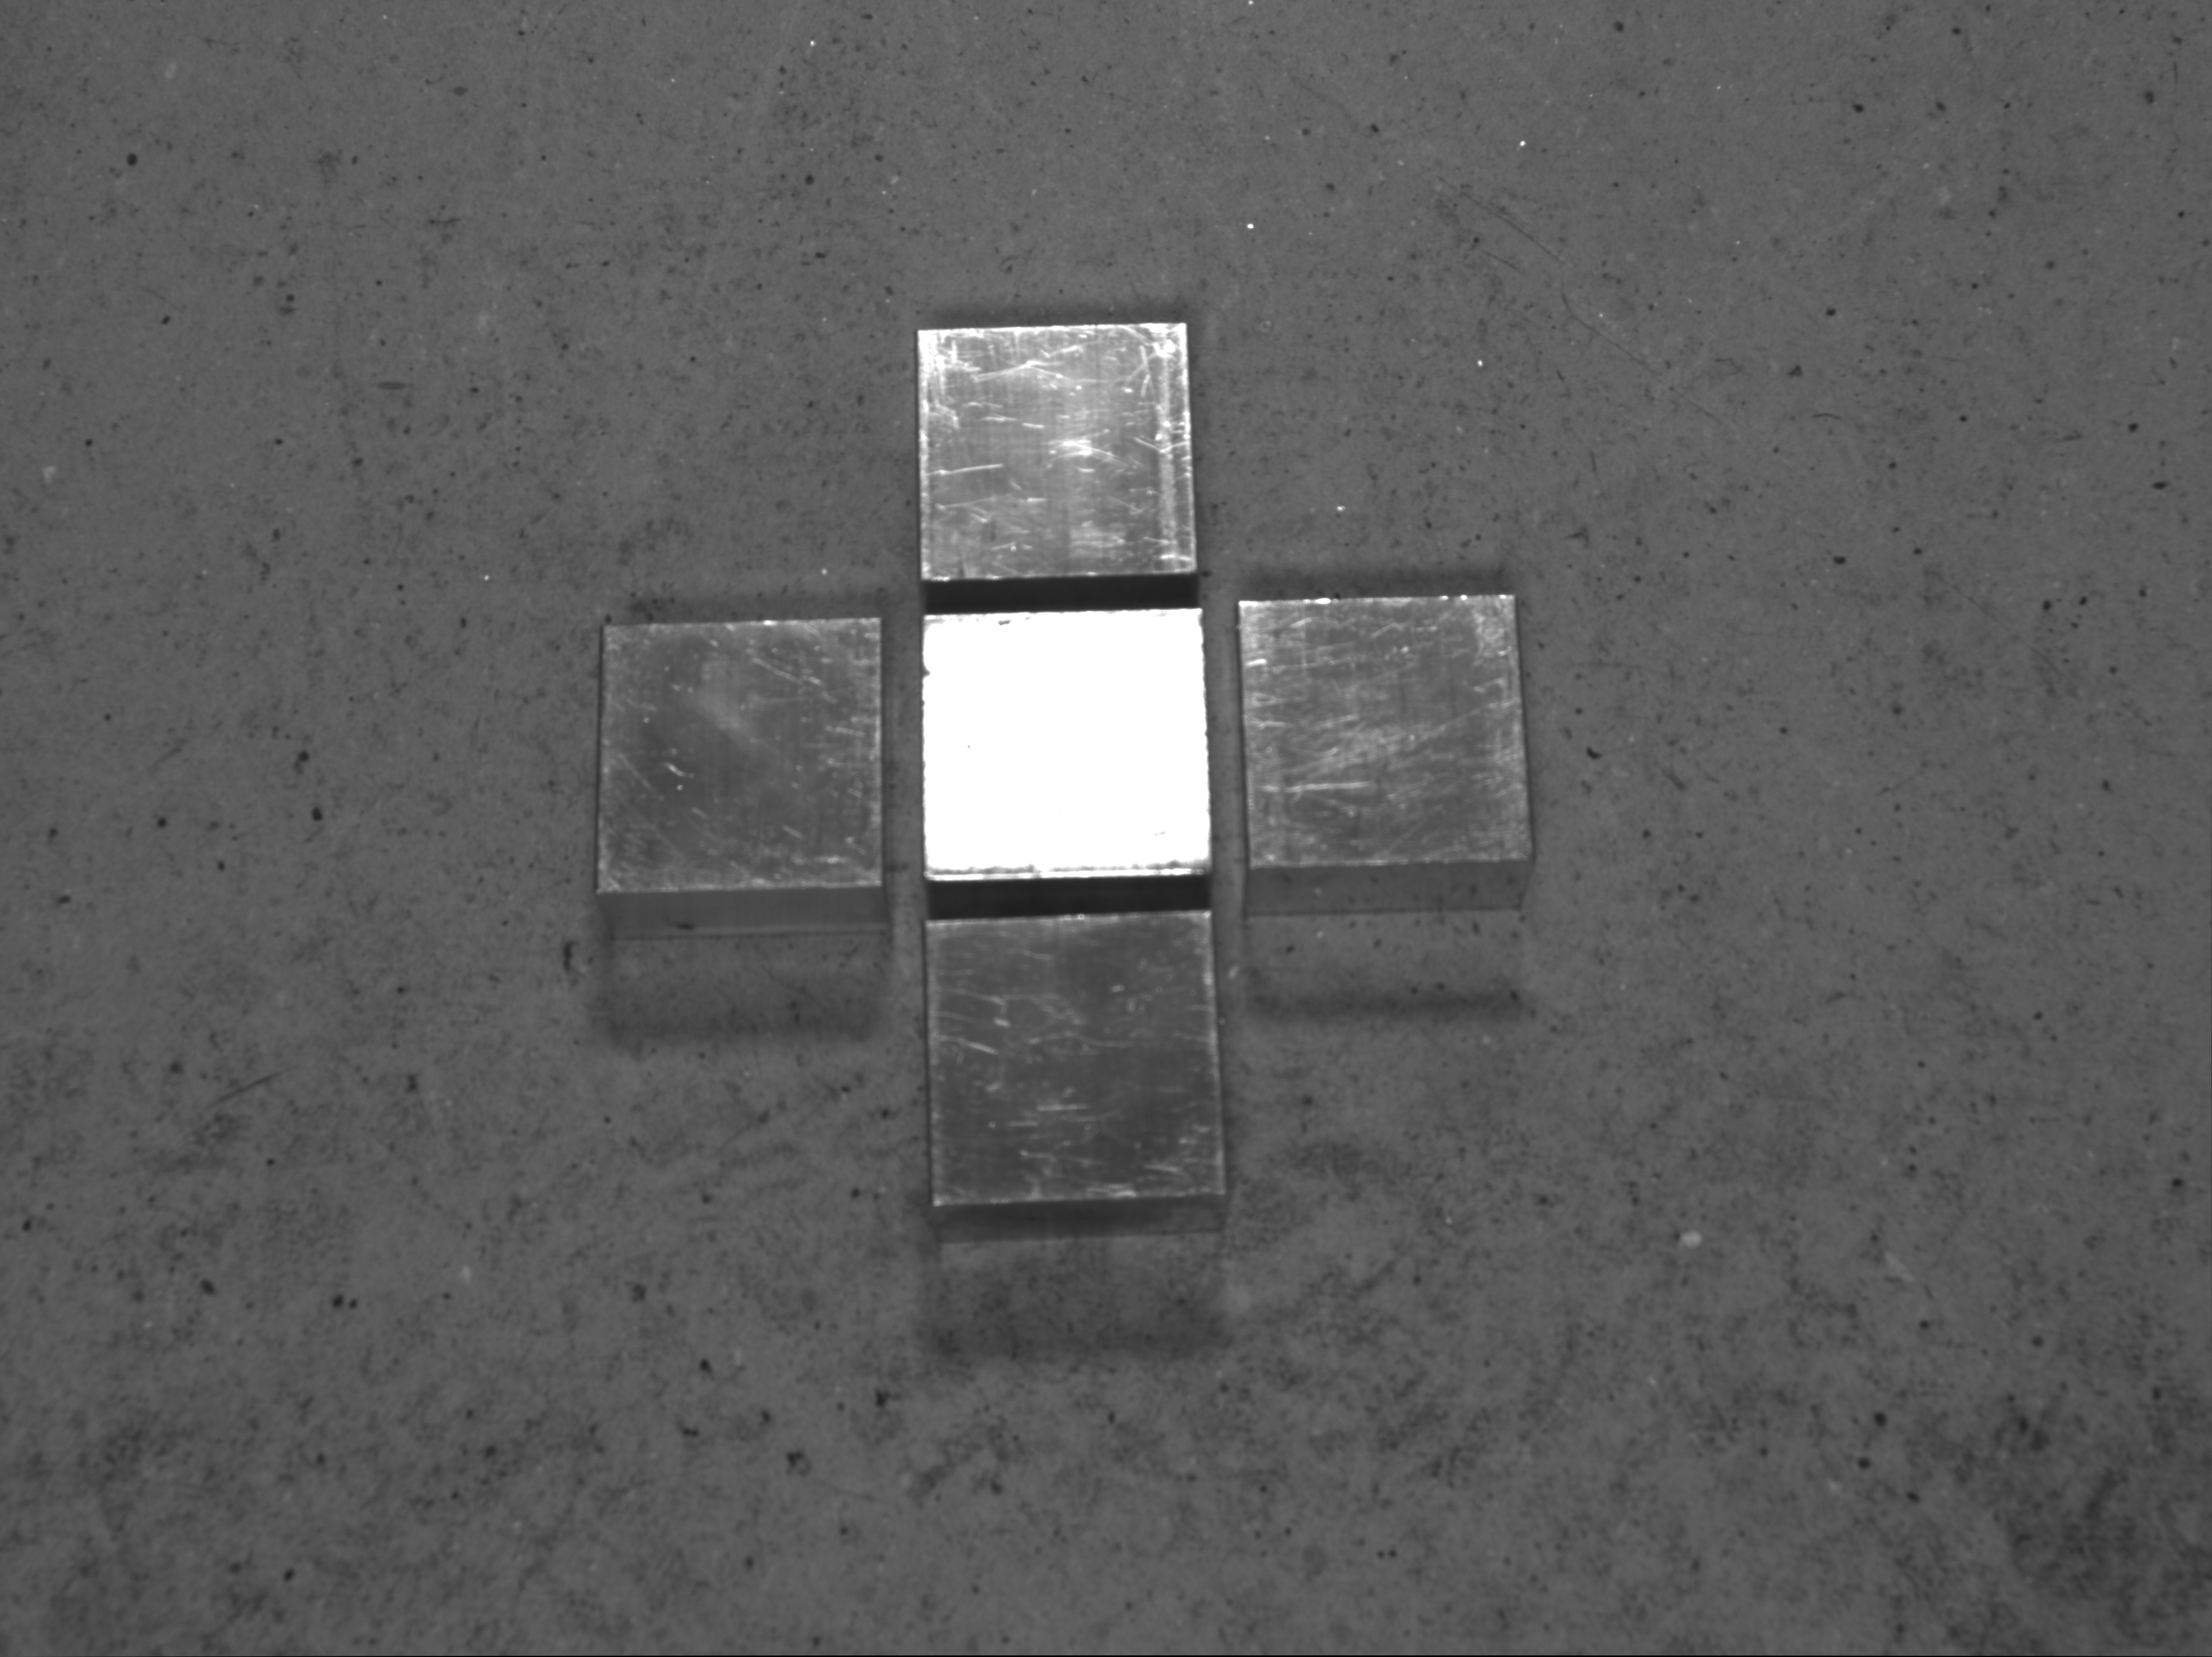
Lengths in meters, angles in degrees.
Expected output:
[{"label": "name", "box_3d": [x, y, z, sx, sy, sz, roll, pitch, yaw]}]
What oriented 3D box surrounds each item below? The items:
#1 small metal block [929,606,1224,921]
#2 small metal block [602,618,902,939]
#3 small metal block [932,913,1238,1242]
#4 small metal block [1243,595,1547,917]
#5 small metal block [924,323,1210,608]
[{"label": "small metal block", "box_3d": [-0.005, -0.011, 0.649, 0.050, 0.025, 0.050, -2, 70, -1]}, {"label": "small metal block", "box_3d": [-0.062, -0.009, 0.648, 0.050, 0.025, 0.050, -2, 70, -1]}, {"label": "small metal block", "box_3d": [-0.004, 0.043, 0.629, 0.050, 0.025, 0.050, -2, 70, -1]}, {"label": "small metal block", "box_3d": [0.050, -0.013, 0.650, 0.050, 0.025, 0.050, -2, 70, -1]}, {"label": "small metal block", "box_3d": [-0.007, -0.063, 0.668, 0.050, 0.025, 0.050, -2, 70, -1]}]
